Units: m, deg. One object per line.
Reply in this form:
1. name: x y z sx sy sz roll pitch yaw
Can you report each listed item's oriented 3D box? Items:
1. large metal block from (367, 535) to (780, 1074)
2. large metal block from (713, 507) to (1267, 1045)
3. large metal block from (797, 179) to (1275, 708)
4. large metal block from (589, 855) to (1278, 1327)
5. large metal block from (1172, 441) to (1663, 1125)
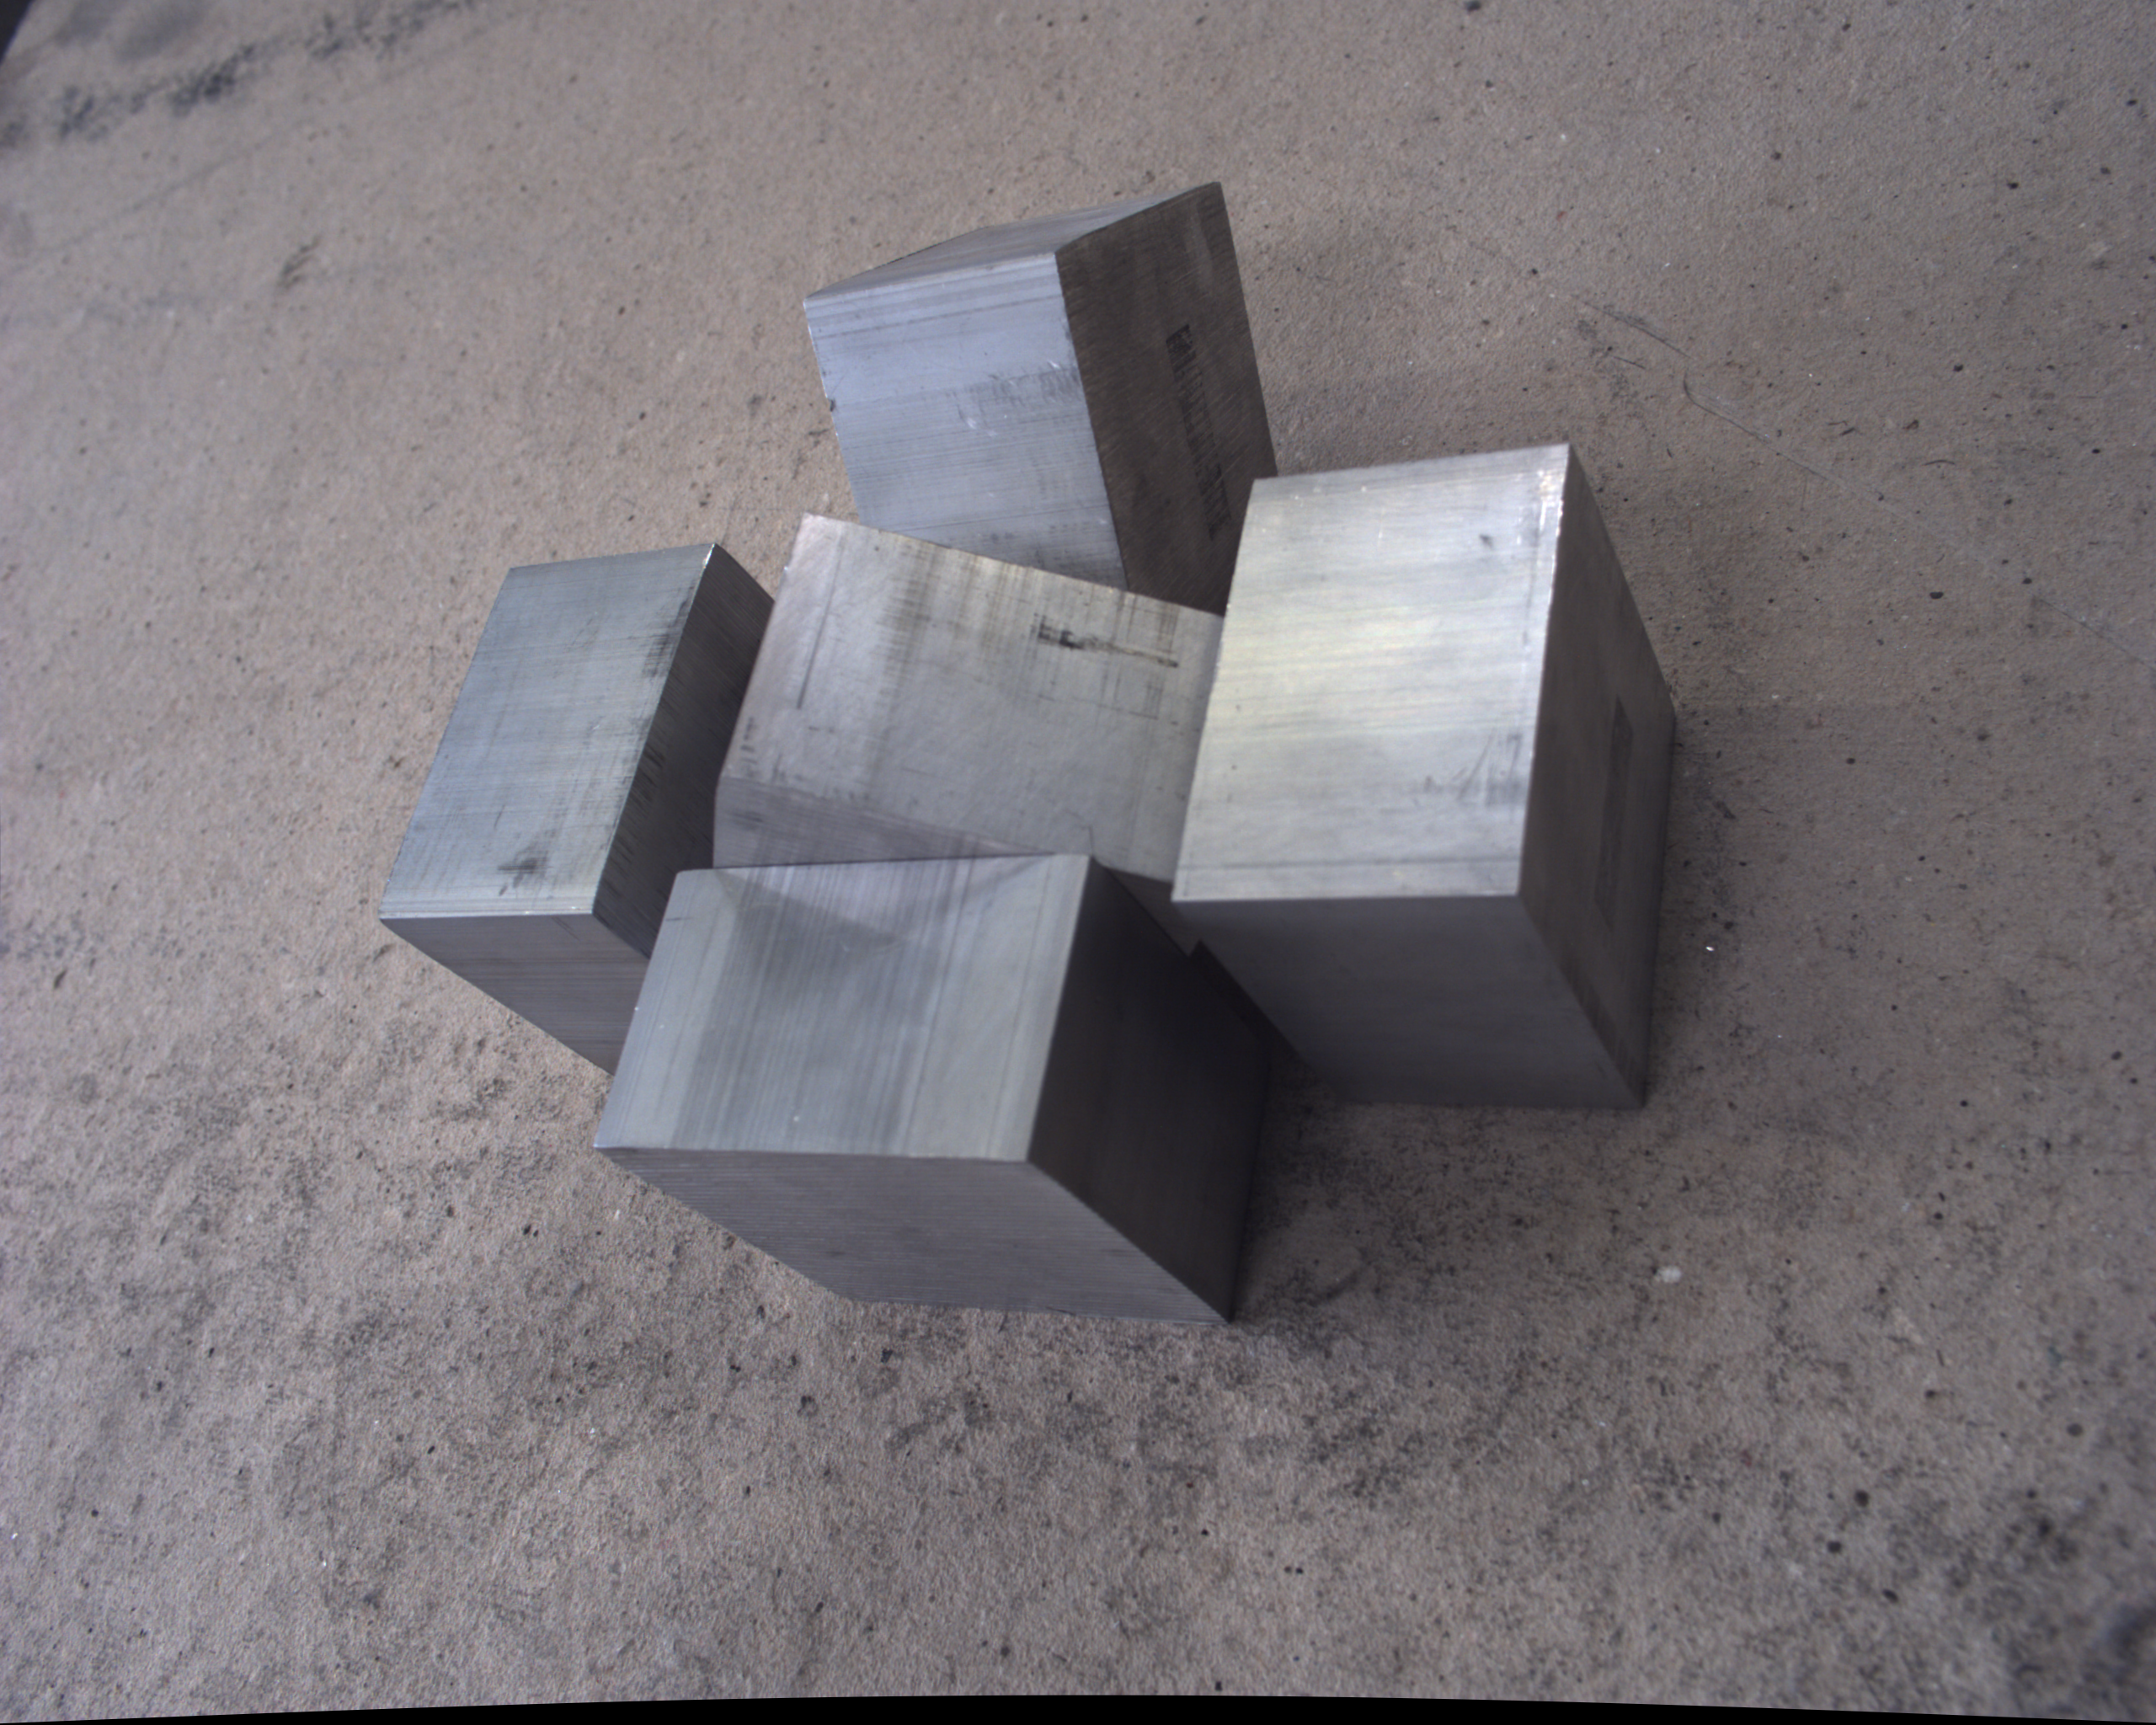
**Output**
1. large metal block: -0.082 -0.007 0.417 0.050 0.080 0.080 -2 61 27
2. large metal block: -0.018 -0.010 0.367 0.080 0.080 0.050 14 64 -4
3. large metal block: -0.002 -0.081 0.402 0.050 0.080 0.080 -3 23 27
4. large metal block: -0.021 0.041 0.357 0.080 0.080 0.050 -3 61 27
5. large metal block: 0.061 -0.010 0.344 0.050 0.080 0.080 -2 60 26
